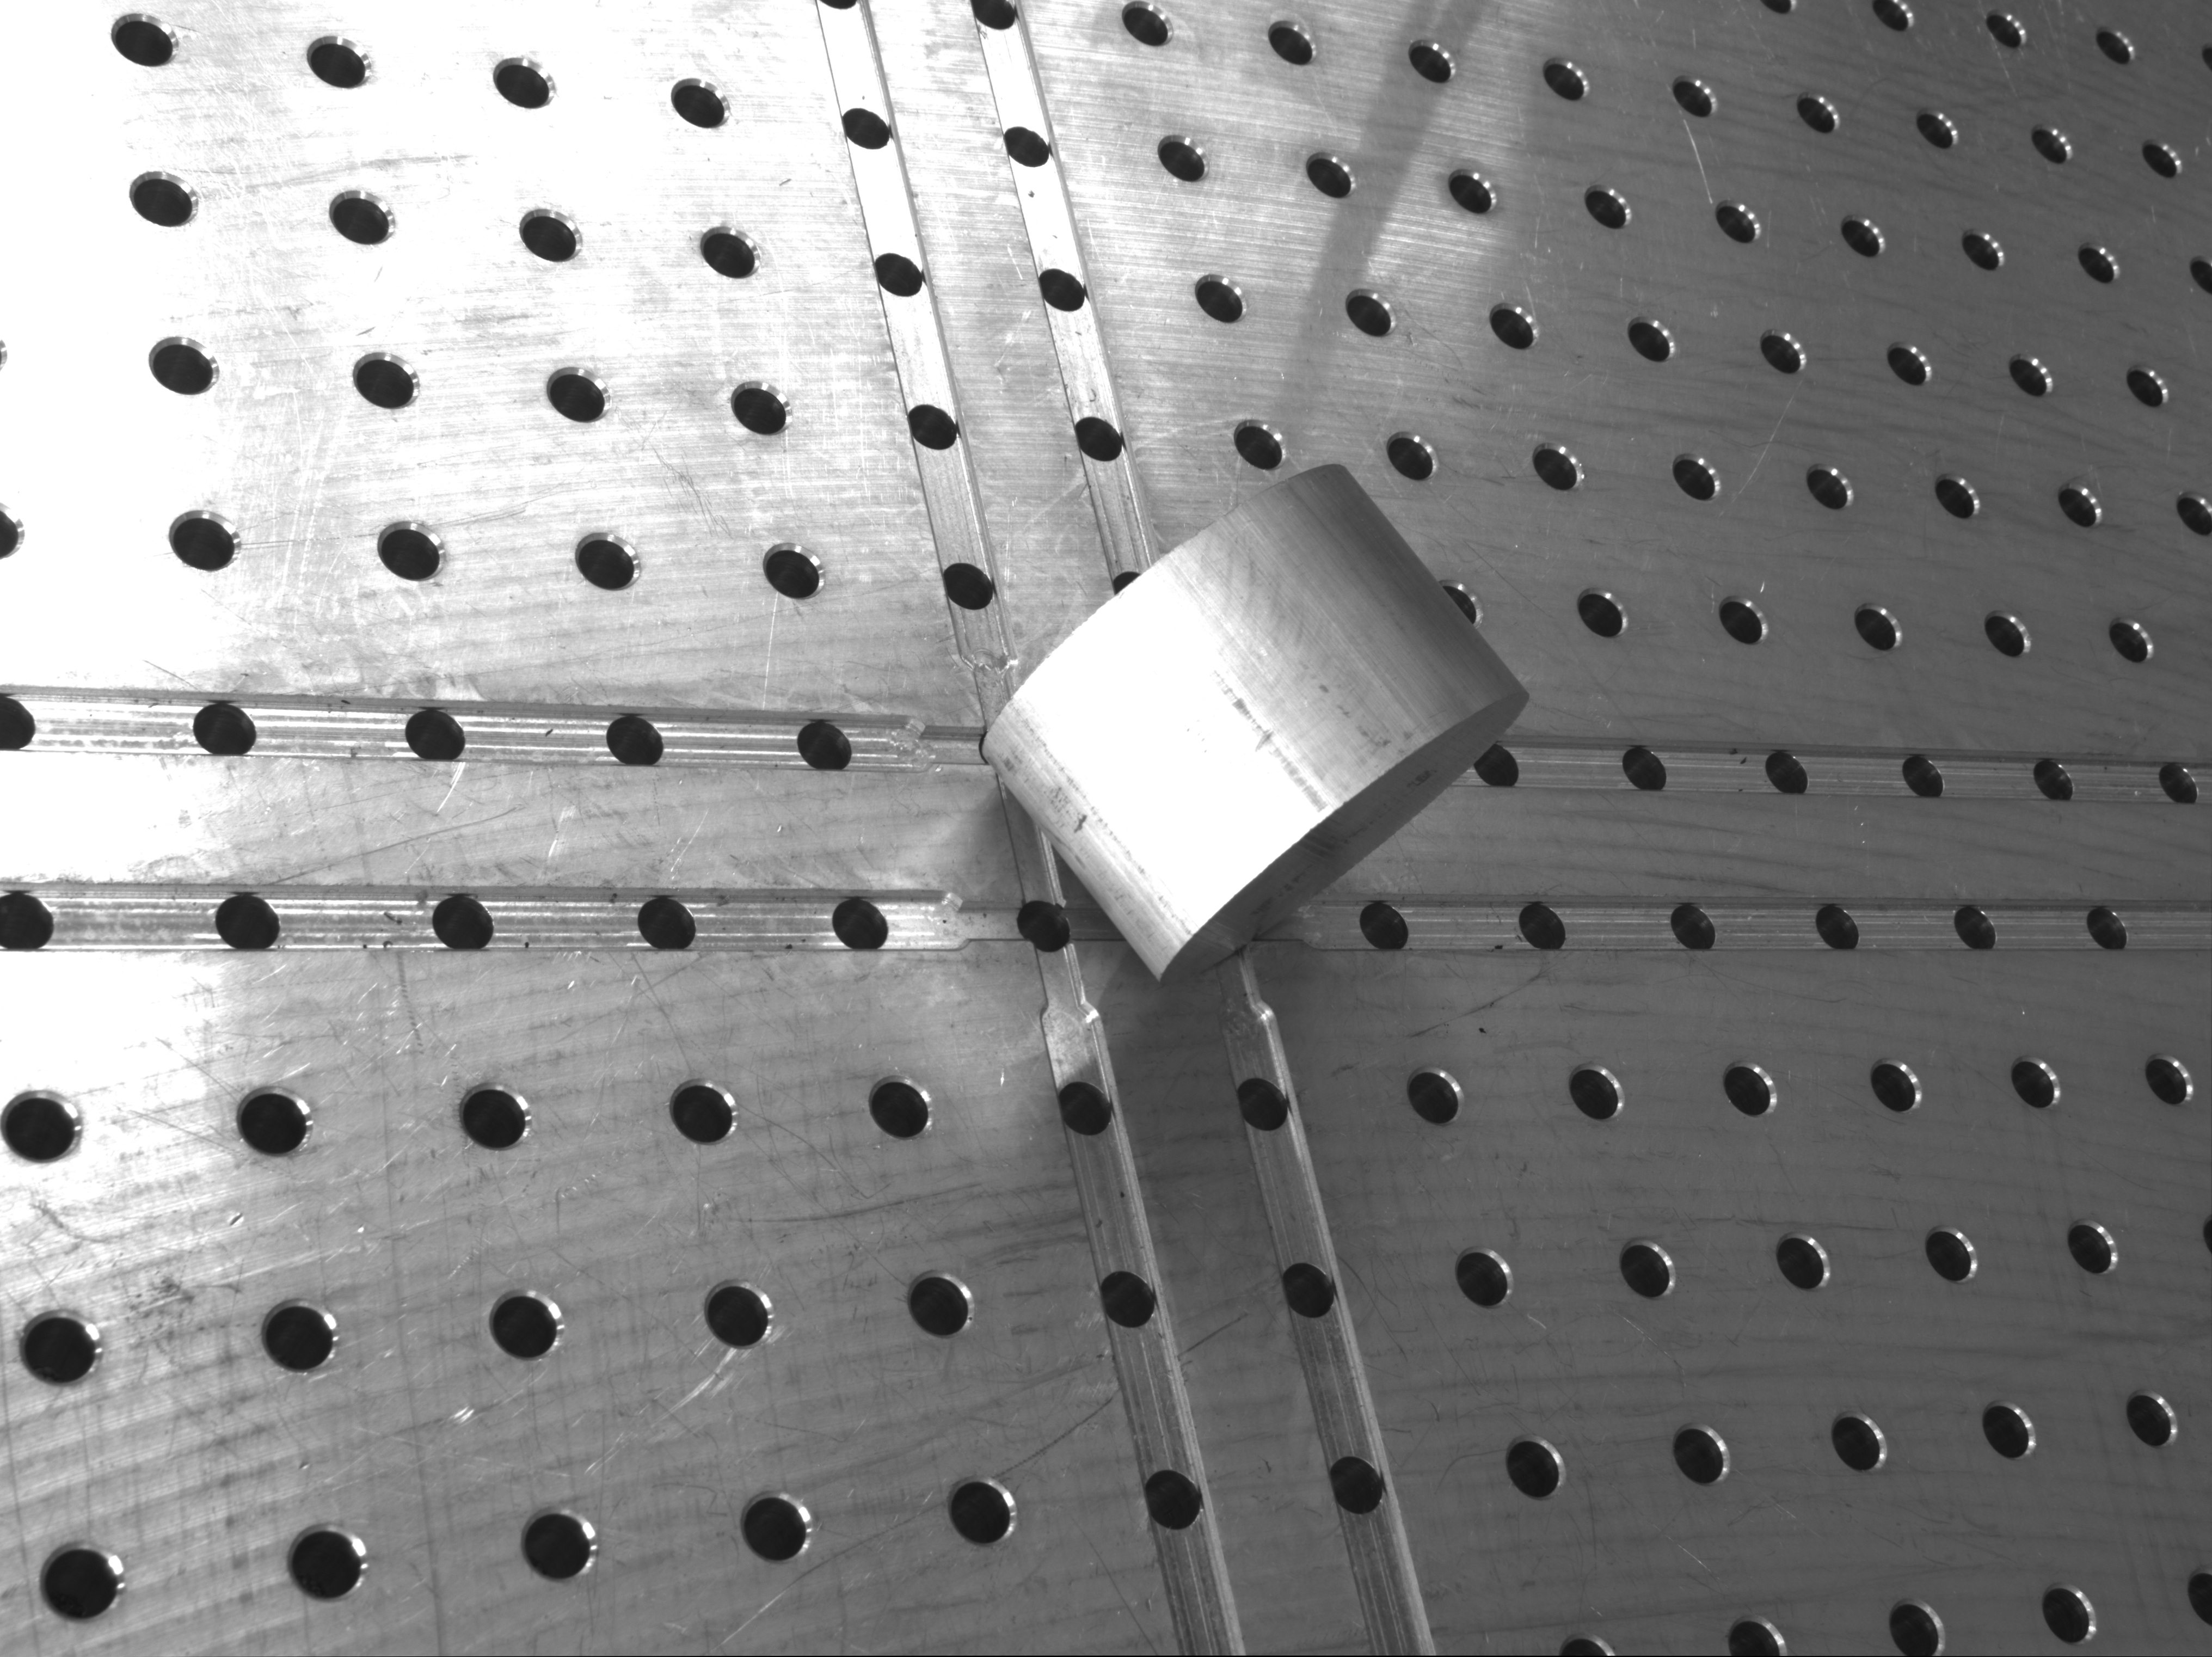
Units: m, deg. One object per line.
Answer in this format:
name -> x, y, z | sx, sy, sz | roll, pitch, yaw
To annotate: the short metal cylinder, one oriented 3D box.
short metal cylinder -> 0.026, -0.018, 0.631 | 0.080, 0.080, 0.050 | -31, 78, -38
